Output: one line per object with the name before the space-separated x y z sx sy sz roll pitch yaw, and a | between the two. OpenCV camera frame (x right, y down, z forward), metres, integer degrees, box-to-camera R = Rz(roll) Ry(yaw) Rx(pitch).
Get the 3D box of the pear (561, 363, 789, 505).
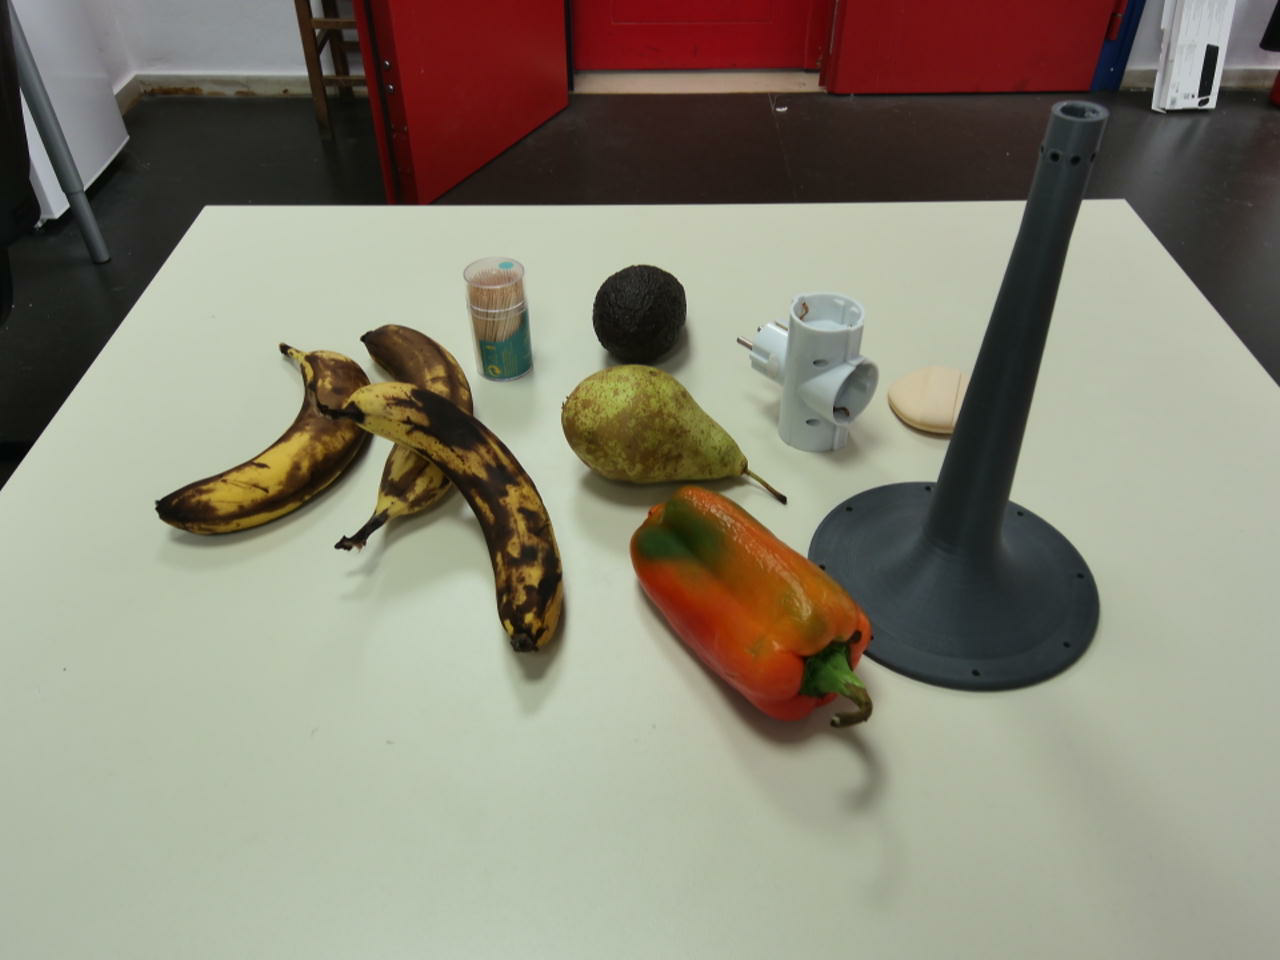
pear | 0.018 -0.032 0.591 0.128 0.075 0.071 -5 39 -6
